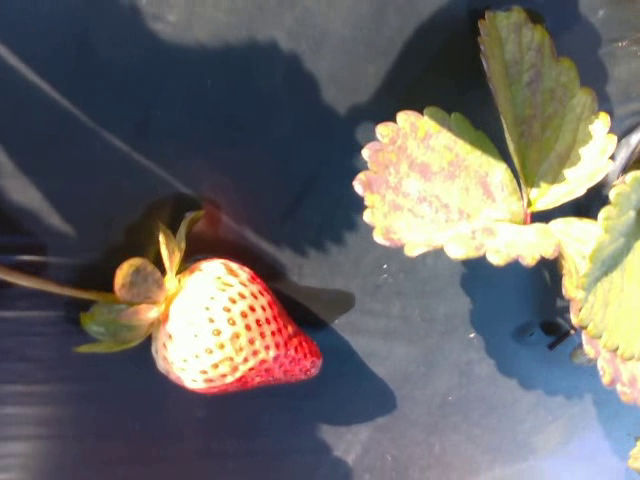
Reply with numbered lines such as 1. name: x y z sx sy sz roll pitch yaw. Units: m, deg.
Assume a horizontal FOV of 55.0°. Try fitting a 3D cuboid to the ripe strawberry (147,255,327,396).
1. ripe strawberry: -0.019 0.029 0.167 0.063 0.044 0.044 20 -19 -23
